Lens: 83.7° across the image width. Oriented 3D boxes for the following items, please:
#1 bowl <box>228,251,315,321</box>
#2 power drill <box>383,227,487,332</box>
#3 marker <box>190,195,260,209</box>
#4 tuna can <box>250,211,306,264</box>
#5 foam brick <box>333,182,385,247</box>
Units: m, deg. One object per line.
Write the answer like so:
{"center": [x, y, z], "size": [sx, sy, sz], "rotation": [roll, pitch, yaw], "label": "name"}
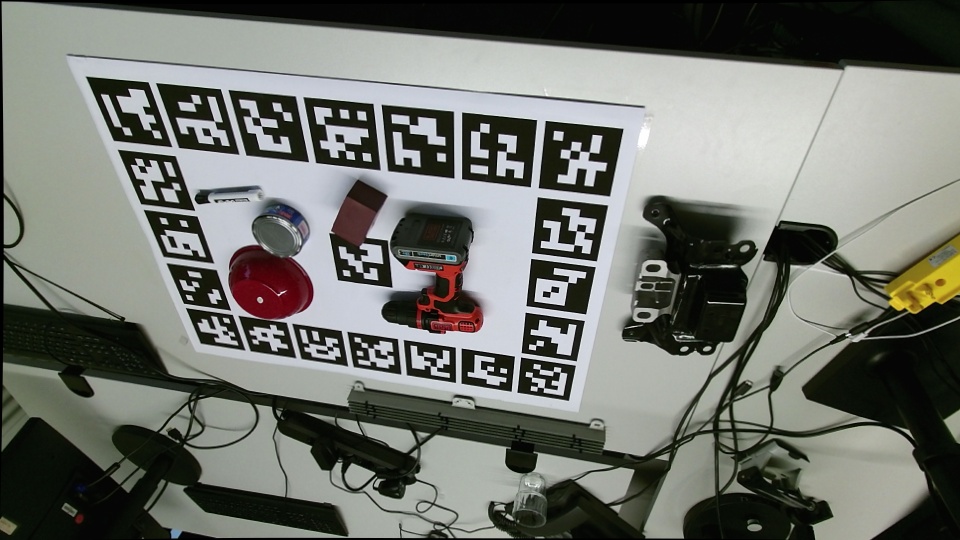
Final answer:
{"center": [-0.386, 0.043, 0.968], "size": [0.162, 0.055, 0.162], "rotation": [5, 134, 5], "label": "bowl"}
{"center": [-0.079, 0.022, 0.877], "size": [0.185, 0.057, 0.187], "rotation": [8, 130, 11], "label": "power drill"}
{"center": [-0.415, -0.111, 0.869], "size": [0.121, 0.019, 0.019], "rotation": [-1, 124, 13], "label": "marker"}
{"center": [-0.333, -0.055, 0.884], "size": [0.086, 0.033, 0.086], "rotation": [7, 127, 10], "label": "tuna can"}
{"center": [-0.189, -0.085, 0.828], "size": [0.051, 0.052, 0.078], "rotation": [27, 126, -6], "label": "foam brick"}
